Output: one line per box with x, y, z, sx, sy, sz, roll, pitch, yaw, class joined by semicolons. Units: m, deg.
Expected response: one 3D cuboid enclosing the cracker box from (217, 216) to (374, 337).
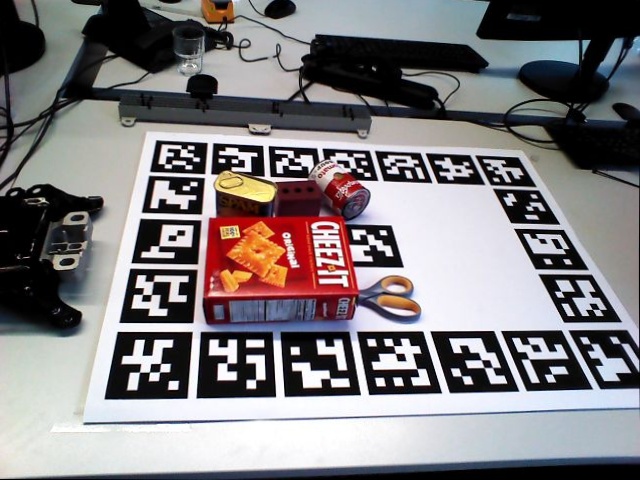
-0.039;0.046;0.762;0.213;0.072;0.163;-5;47;-9;cracker box

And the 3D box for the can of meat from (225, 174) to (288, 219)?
-0.105;-0.053;0.854;0.102;0.084;0.057;12;47;1;can of meat

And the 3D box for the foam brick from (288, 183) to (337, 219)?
-0.016;-0.061;0.903;0.078;0.051;0.052;-7;49;-16;foam brick

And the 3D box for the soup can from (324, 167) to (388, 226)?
0.063;-0.080;0.933;0.067;0.068;0.102;-31;53;-32;soup can

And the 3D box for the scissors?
0.074;0.095;0.779;0.203;0.016;0.087;-3;48;-12;scissors
